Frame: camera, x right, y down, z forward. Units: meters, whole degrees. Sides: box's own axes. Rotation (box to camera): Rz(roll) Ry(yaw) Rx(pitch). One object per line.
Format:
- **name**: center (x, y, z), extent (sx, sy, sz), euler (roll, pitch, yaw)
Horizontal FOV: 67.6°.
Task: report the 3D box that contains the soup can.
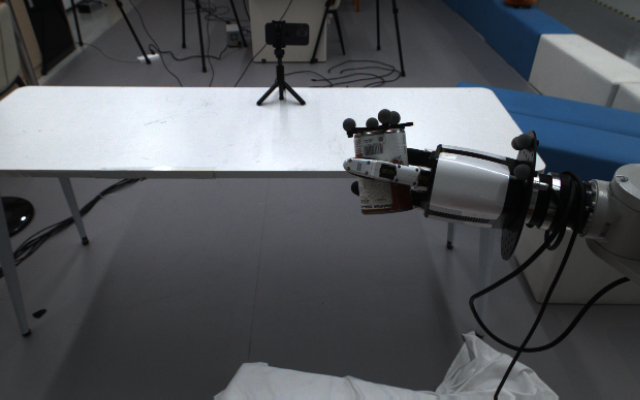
- **soup can**: center (0.082, -0.036, 0.620), extent (0.067, 0.101, 0.067), euler (-7, 3, 0)
